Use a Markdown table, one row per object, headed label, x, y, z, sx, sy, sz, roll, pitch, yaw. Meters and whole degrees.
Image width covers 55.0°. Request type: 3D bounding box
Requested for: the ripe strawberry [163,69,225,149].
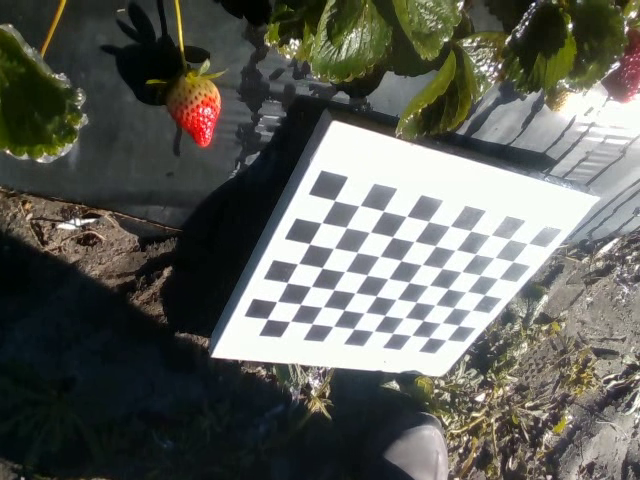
| label | x | y | z | sx | sy | sz | roll | pitch | yaw |
| --- | --- | --- | --- | --- | --- | --- | --- | --- | --- |
| ripe strawberry | -0.078 | -0.083 | 0.392 | 0.039 | 0.053 | 0.041 | -7 | 27 | -13 |
